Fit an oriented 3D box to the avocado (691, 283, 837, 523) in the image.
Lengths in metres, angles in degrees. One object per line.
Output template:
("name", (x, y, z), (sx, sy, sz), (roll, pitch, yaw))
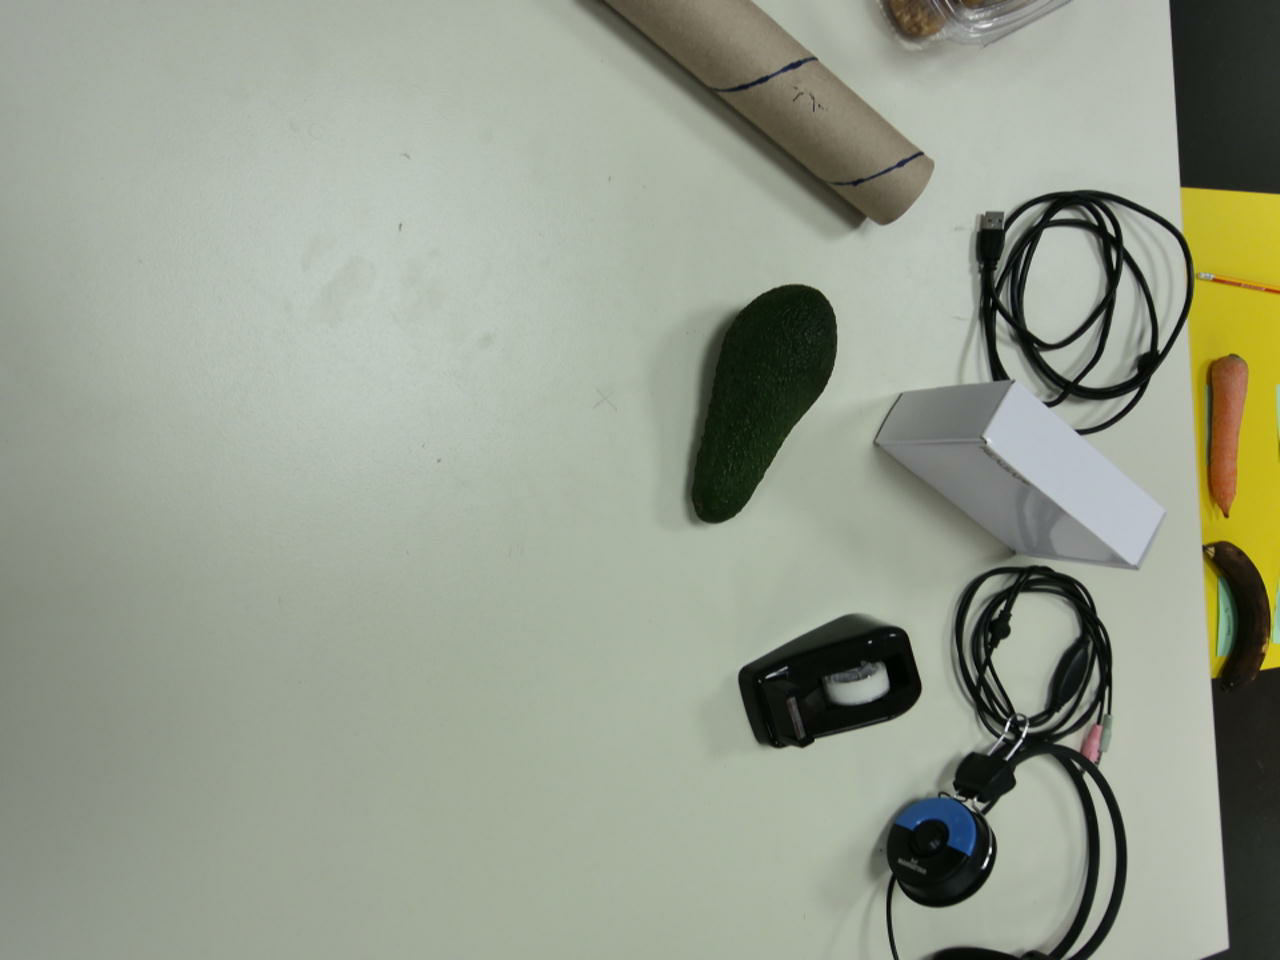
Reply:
("avocado", (0.072, -0.041, 0.557), (0.063, 0.067, 0.141), (11, 87, -22))
